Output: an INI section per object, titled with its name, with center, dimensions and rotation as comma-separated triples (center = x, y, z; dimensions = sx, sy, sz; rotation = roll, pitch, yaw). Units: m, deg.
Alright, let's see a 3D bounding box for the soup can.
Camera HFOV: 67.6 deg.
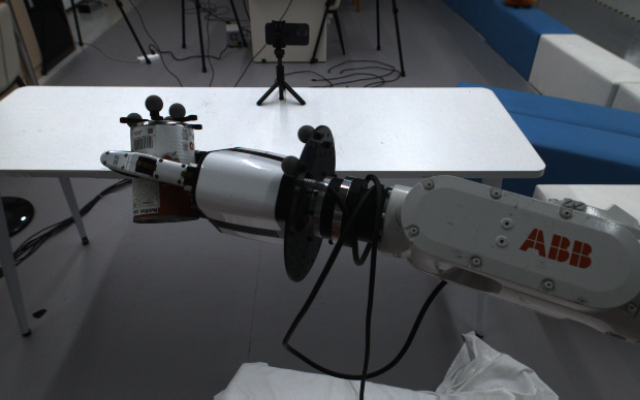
[soup can]
center = -0.166, -0.027, 0.522
dimensions = 0.067, 0.101, 0.067
rotation = -5, -5, 0
